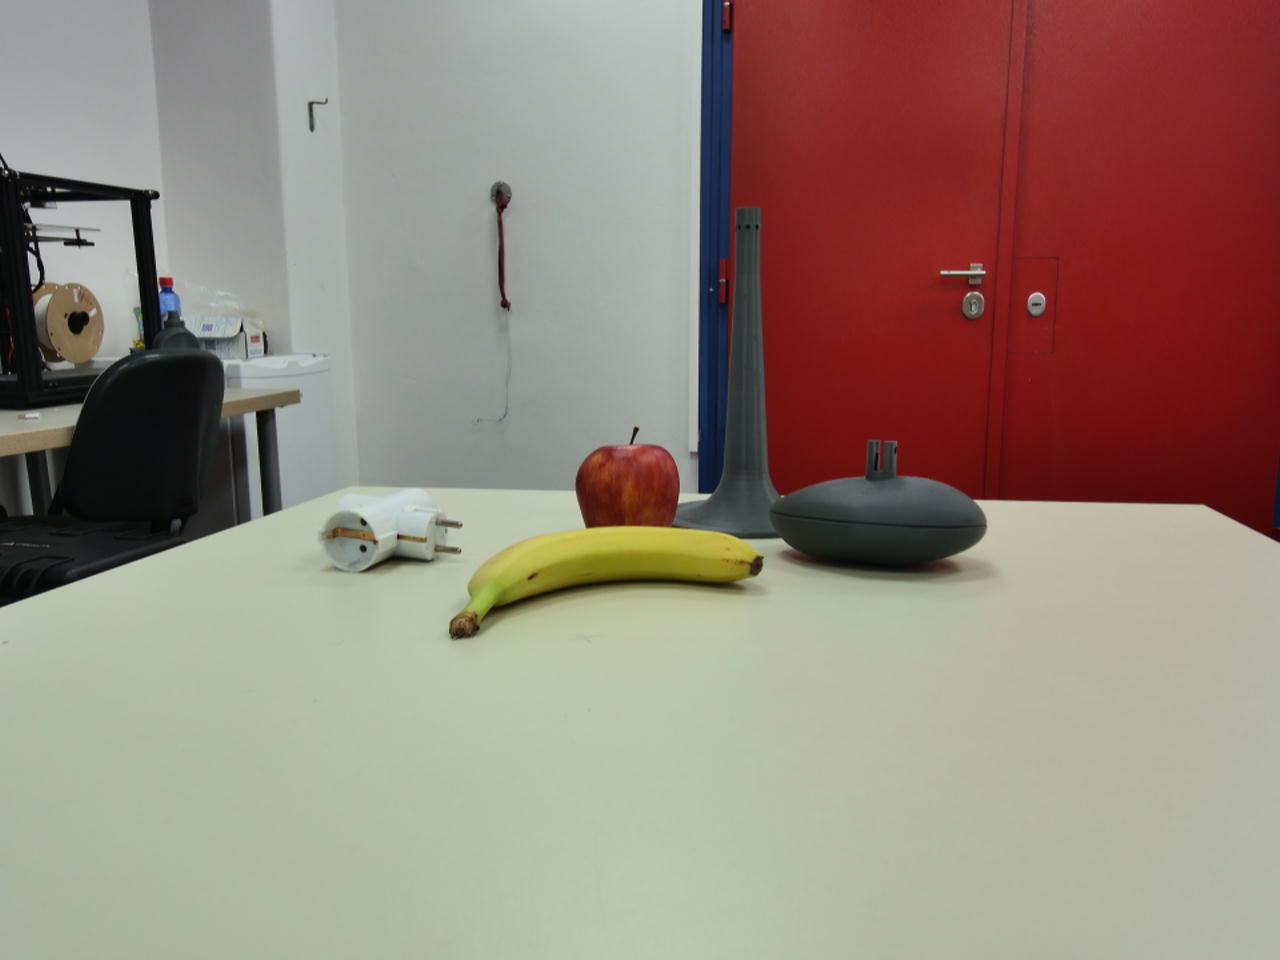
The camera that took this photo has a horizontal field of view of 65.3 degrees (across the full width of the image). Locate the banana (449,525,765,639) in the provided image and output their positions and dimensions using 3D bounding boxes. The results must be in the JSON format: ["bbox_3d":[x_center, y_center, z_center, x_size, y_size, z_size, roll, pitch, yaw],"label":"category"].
[{"bbox_3d":[-0.029,0.053,0.607,0.196,0.041,0.094,-3,8,-24],"label":"banana"}]
